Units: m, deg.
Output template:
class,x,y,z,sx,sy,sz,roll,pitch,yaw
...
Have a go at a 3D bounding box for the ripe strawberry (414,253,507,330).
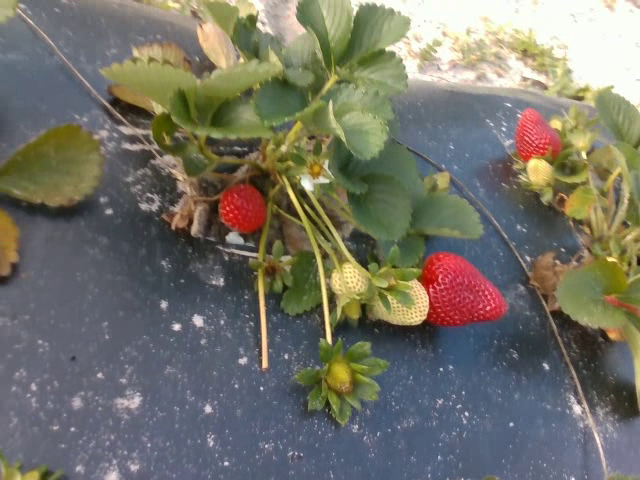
class,x,y,z,sx,sy,sz,roll,pitch,yaw
ripe strawberry,0.092,0.037,0.409,0.055,0.051,0.048,25,-8,28
